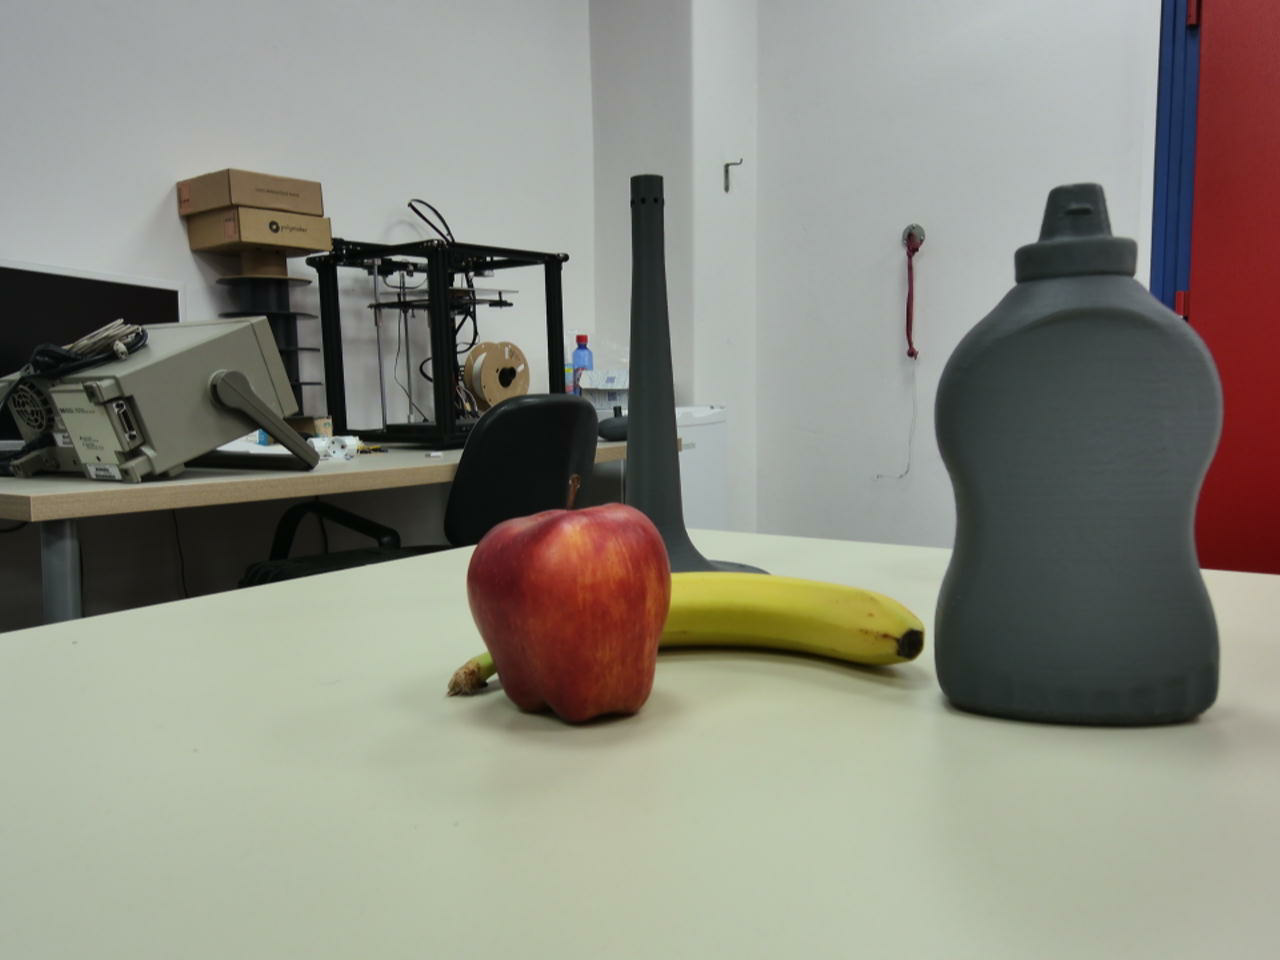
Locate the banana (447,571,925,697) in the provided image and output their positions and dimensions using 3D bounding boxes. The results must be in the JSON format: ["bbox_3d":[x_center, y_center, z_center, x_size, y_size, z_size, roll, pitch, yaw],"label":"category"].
[{"bbox_3d":[0.019,0.066,0.453,0.196,0.041,0.094,0,3,2],"label":"banana"}]
